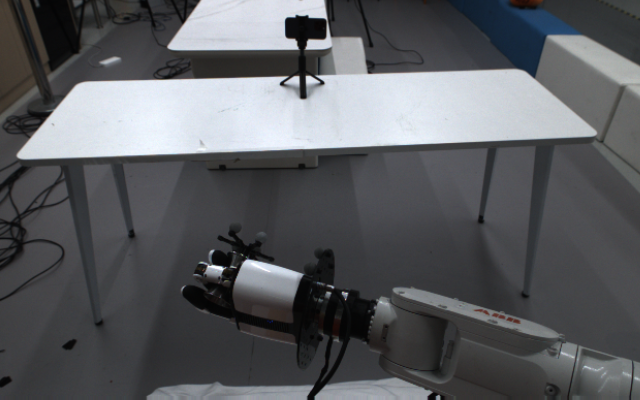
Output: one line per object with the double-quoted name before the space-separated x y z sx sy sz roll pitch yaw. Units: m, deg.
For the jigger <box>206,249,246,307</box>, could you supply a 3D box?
"jigger" -0.125 0.108 0.670 0.043 0.043 0.071 15 59 18
